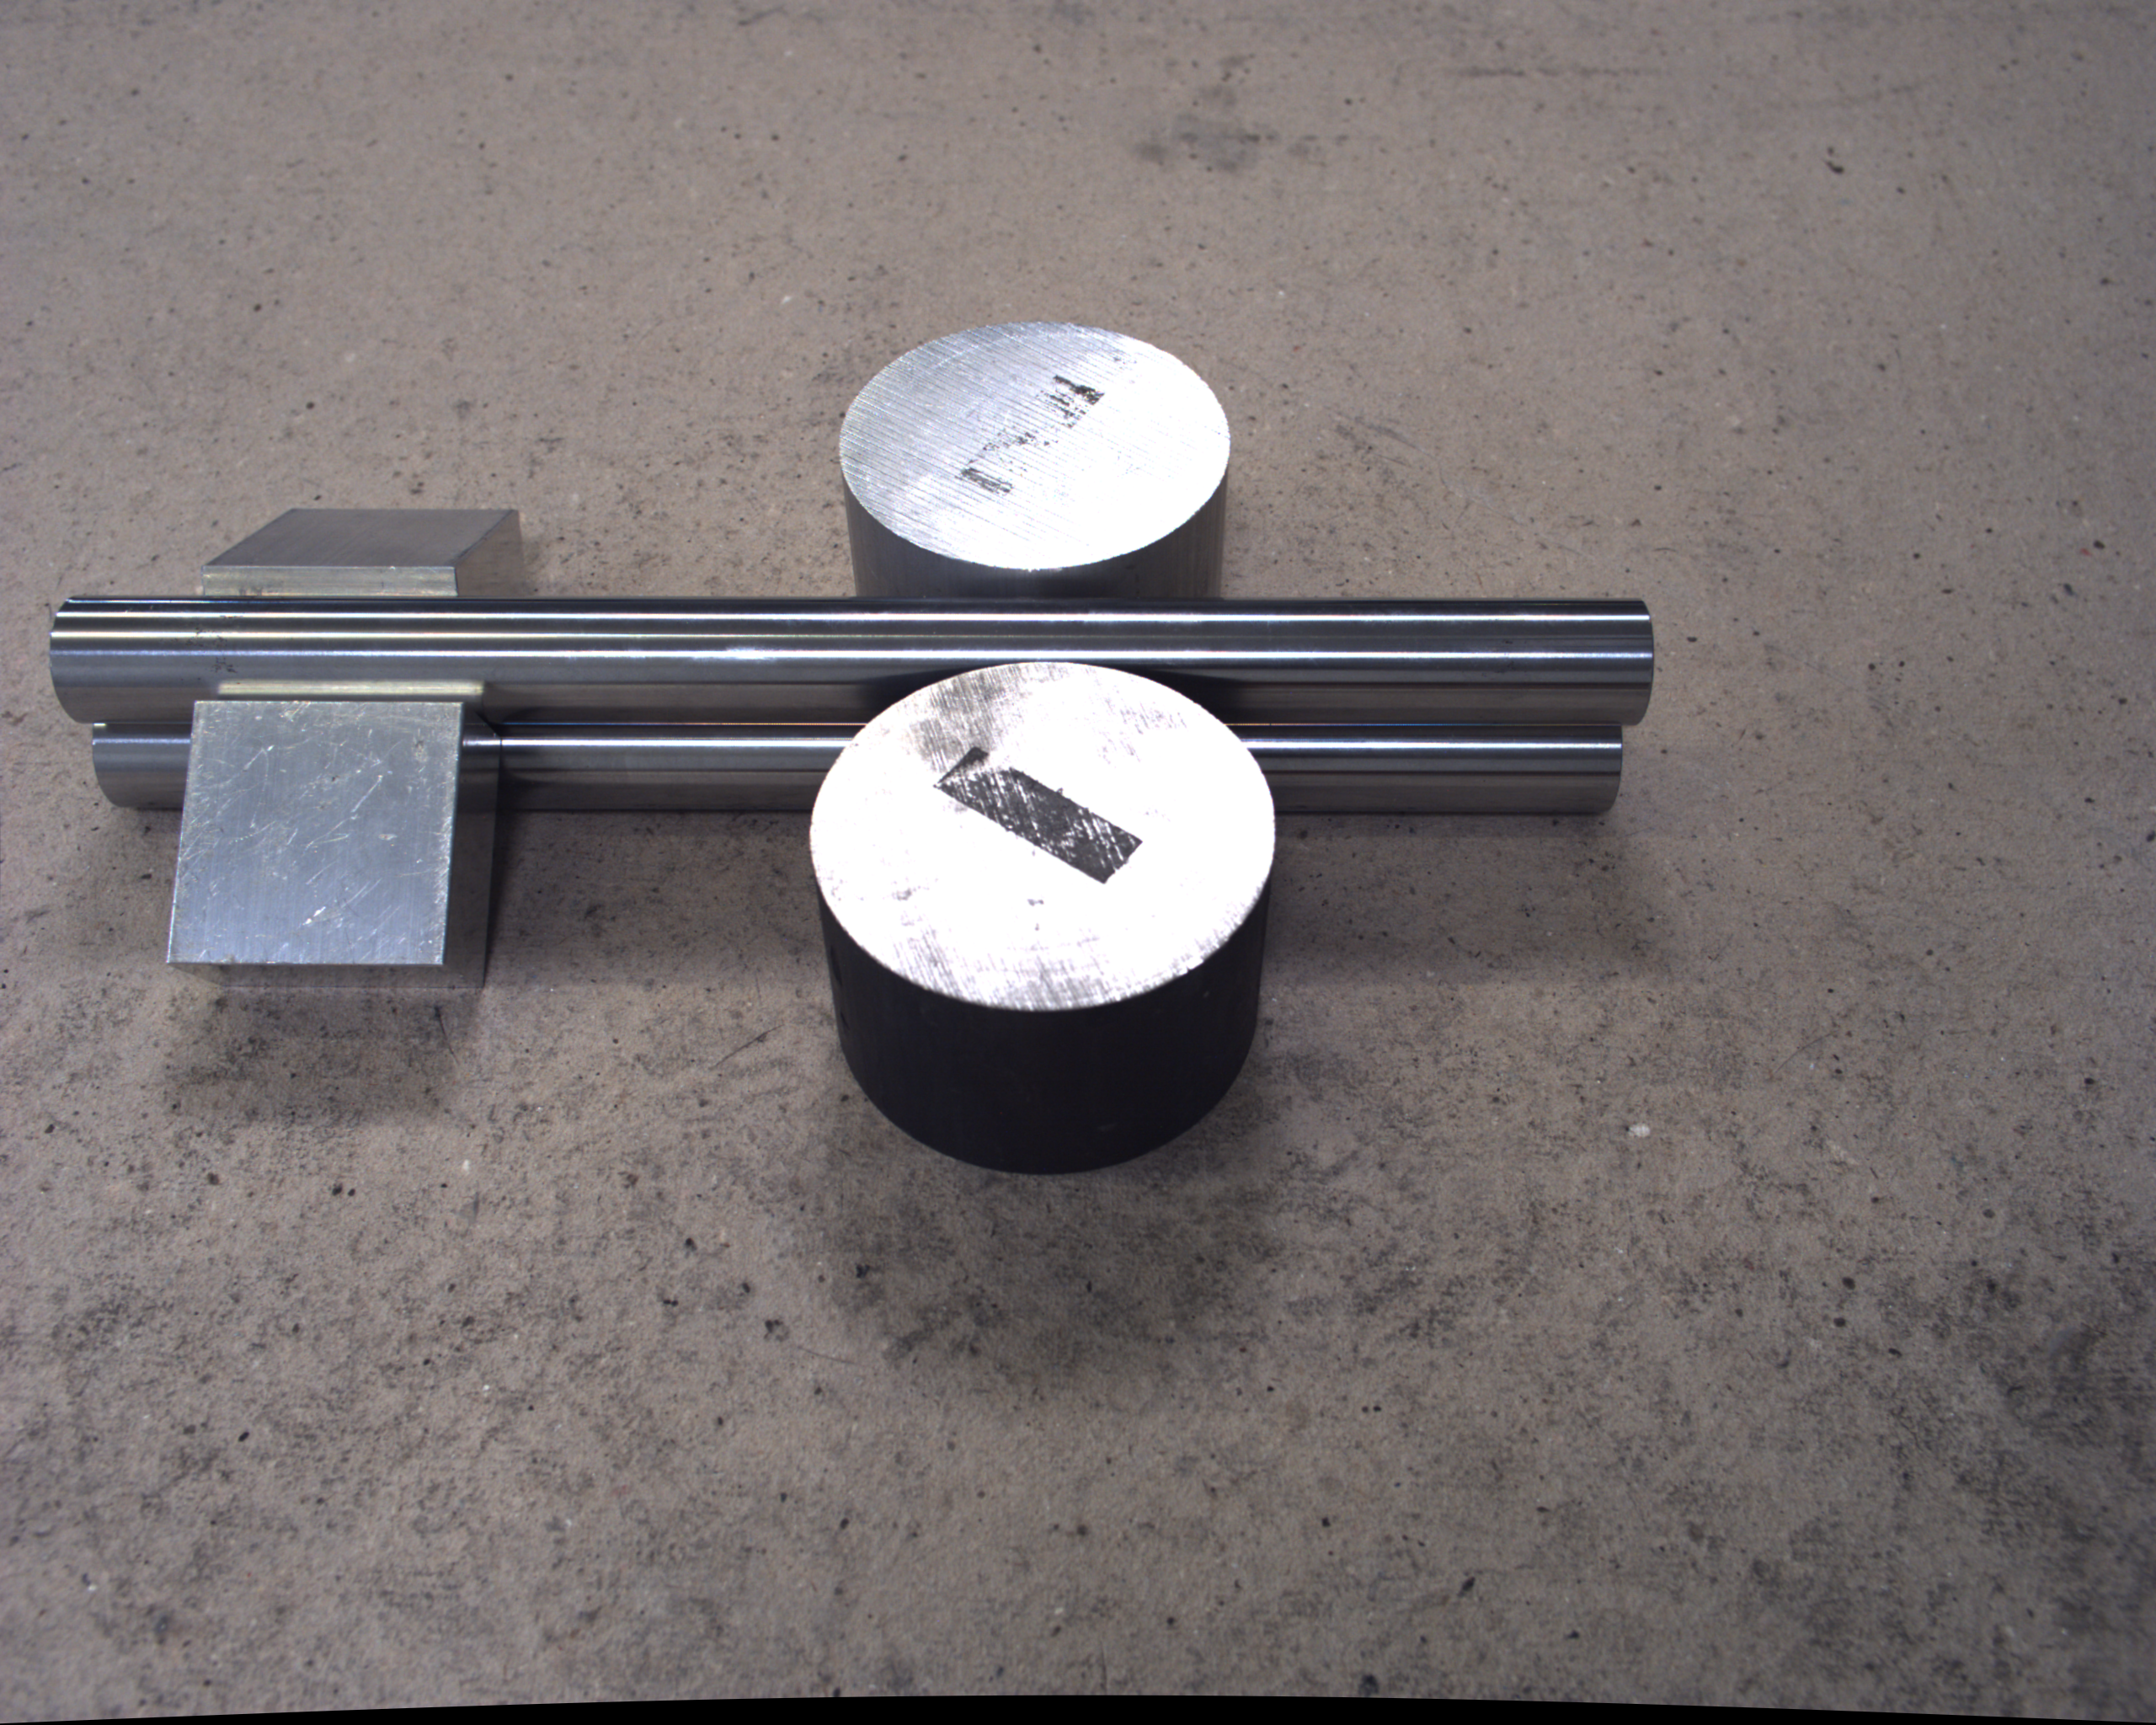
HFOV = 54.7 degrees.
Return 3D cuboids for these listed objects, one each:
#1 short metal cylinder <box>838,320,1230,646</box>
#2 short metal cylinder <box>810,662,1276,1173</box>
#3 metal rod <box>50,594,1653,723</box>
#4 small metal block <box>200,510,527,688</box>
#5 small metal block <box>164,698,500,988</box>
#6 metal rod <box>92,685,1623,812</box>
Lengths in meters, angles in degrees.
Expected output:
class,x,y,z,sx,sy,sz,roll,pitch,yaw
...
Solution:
class,x,y,z,sx,sy,sz,roll,pitch,yaw
short metal cylinder,-0.009,-0.072,0.448,0.081,0.050,0.080,0,50,0
short metal cylinder,-0.006,0.009,0.380,0.081,0.050,0.080,0,50,0
metal rod,-0.042,-0.040,0.405,0.302,0.025,0.025,0,50,0
small metal block,-0.147,-0.056,0.438,0.050,0.025,0.050,0,23,0
small metal block,-0.139,-0.003,0.393,0.050,0.025,0.050,1,77,0
metal rod,-0.043,-0.023,0.424,0.302,0.025,0.025,0,50,0
